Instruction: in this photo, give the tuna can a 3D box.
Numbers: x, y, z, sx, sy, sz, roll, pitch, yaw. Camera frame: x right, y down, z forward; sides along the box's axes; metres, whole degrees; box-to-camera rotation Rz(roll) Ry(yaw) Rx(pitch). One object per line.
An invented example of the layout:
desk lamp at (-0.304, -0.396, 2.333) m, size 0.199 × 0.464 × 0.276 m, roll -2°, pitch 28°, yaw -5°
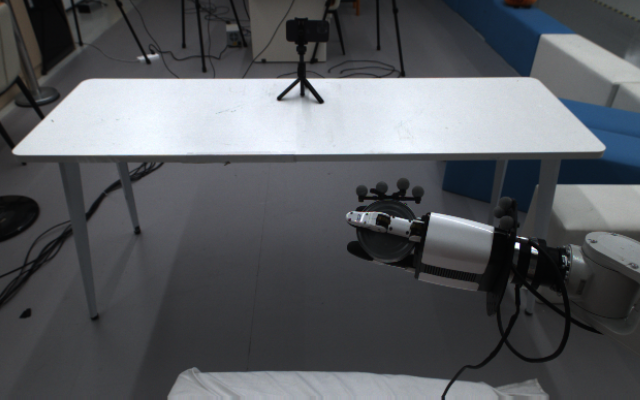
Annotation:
tuna can at (0.096, 0.042, 0.677) m, size 0.085 × 0.034 × 0.085 m, roll -4°, pitch 72°, yaw 11°
